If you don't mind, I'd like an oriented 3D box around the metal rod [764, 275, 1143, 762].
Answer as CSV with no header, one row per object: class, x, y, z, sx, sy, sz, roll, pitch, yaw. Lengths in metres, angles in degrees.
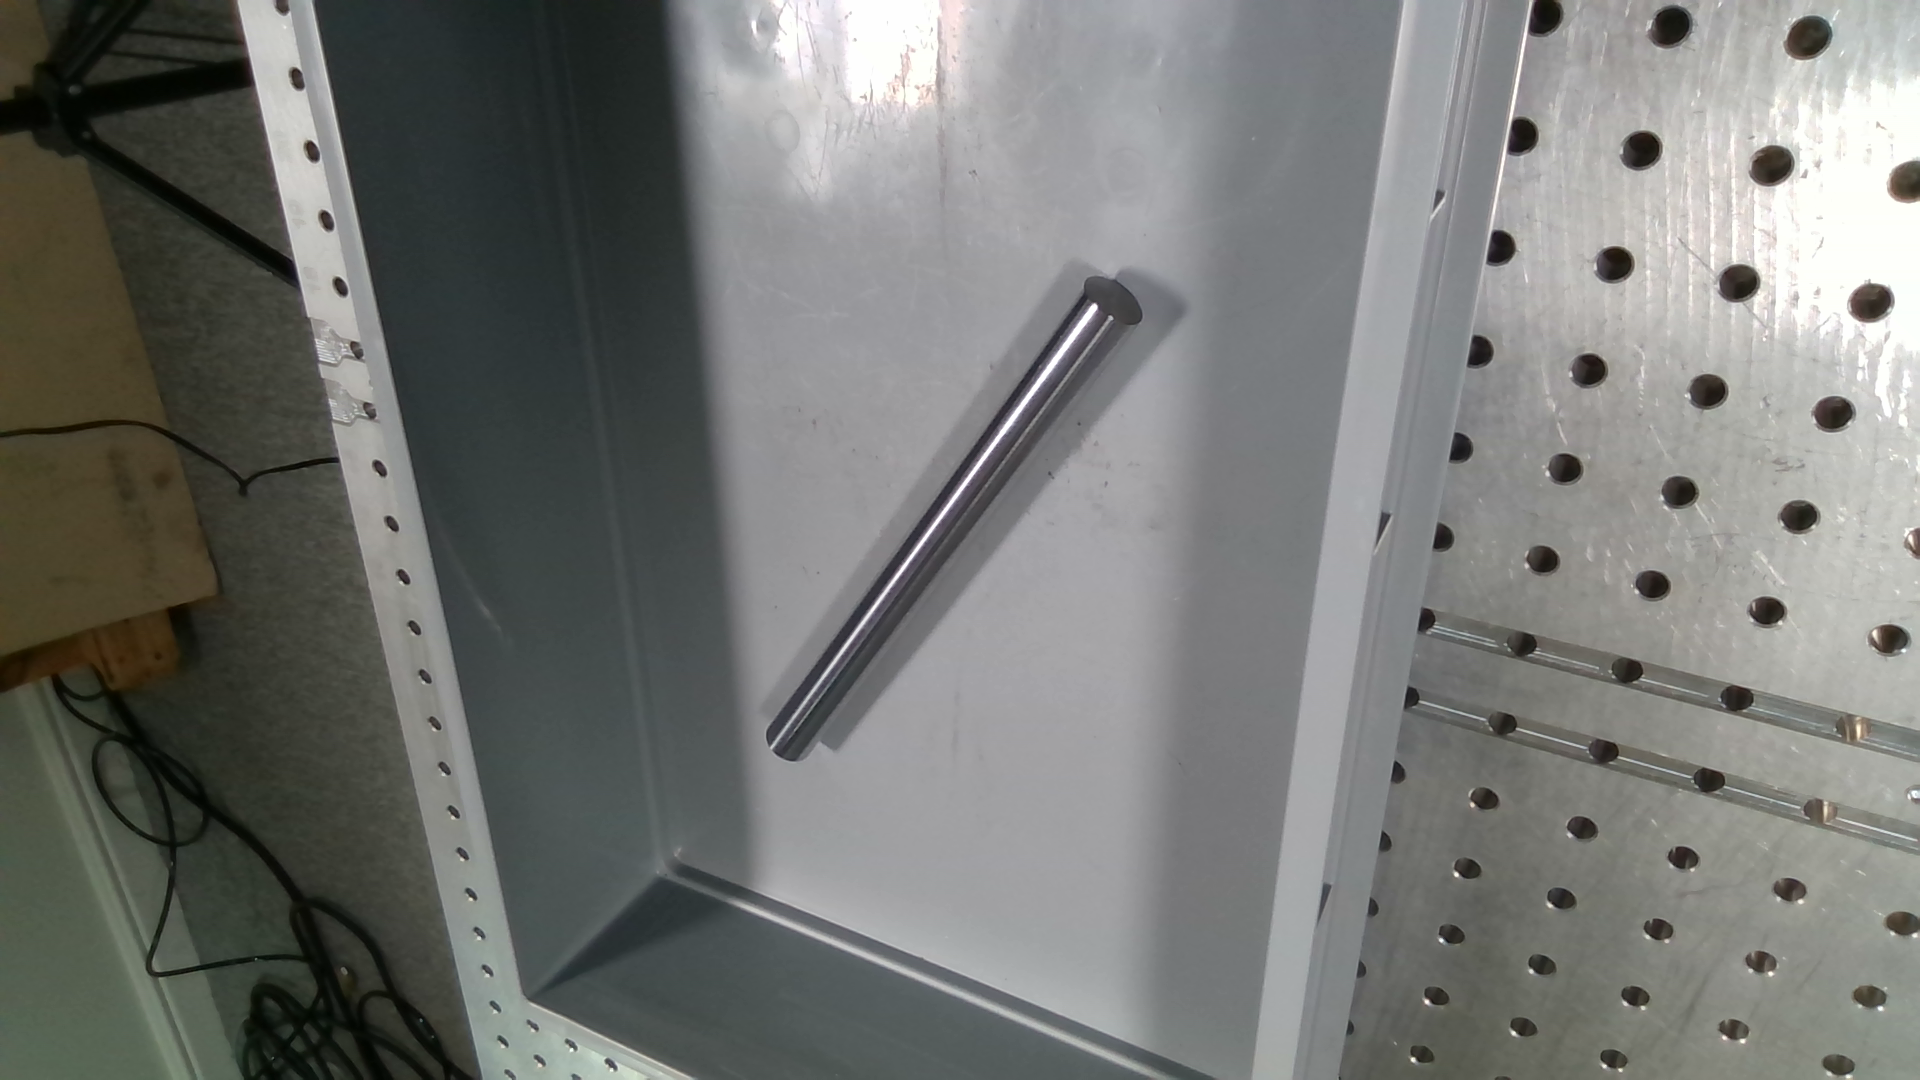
metal rod,-0.015,0.006,0.590,0.025,0.025,0.301,42,129,6
